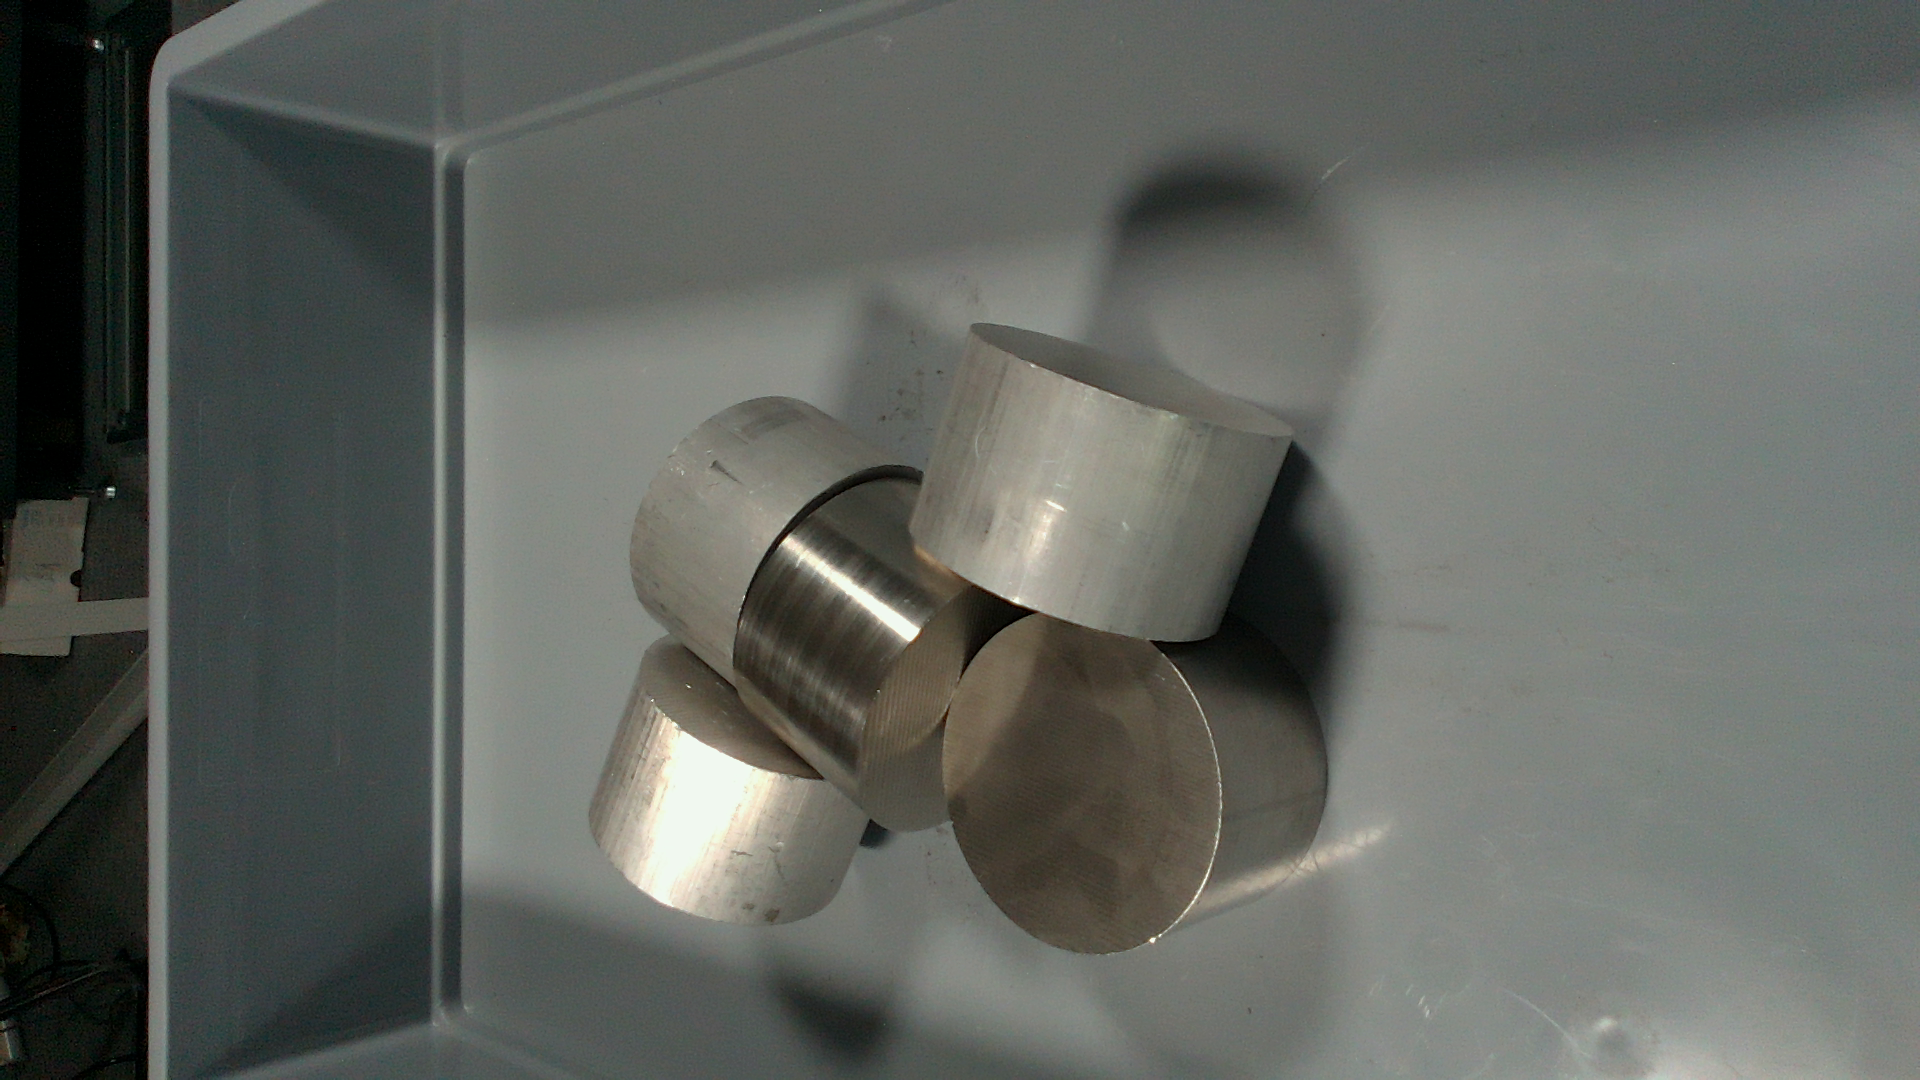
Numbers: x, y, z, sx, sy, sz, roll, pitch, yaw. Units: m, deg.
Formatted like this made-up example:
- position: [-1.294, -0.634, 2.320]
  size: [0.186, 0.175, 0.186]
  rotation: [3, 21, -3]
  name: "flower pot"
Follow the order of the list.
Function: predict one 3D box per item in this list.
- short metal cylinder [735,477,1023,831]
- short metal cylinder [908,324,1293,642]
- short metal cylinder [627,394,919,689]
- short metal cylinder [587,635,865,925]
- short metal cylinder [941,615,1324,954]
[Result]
- position: [-0.013, 0.030, 0.369]
  size: [0.050, 0.080, 0.080]
  rotation: [33, 111, 35]
  name: "short metal cylinder"
- position: [0.032, -0.016, 0.330]
  size: [0.080, 0.080, 0.050]
  rotation: [29, 108, 36]
  name: "short metal cylinder"
- position: [-0.048, 0.004, 0.397]
  size: [0.050, 0.080, 0.080]
  rotation: [32, 110, 36]
  name: "short metal cylinder"
- position: [-0.065, 0.068, 0.412]
  size: [0.080, 0.080, 0.050]
  rotation: [36, 113, 34]
  name: "short metal cylinder"
- position: [0.042, 0.056, 0.341]
  size: [0.080, 0.050, 0.080]
  rotation: [0, 90, 40]
  name: "short metal cylinder"
